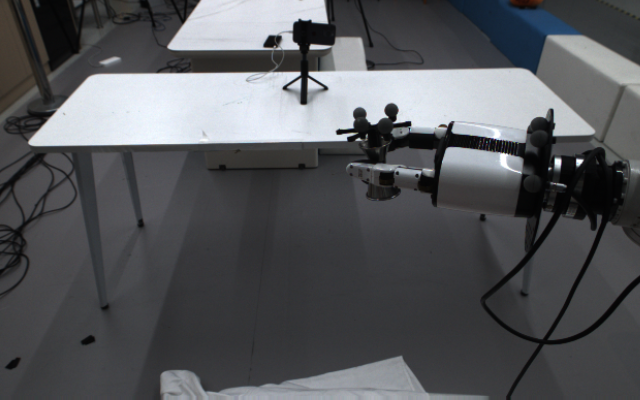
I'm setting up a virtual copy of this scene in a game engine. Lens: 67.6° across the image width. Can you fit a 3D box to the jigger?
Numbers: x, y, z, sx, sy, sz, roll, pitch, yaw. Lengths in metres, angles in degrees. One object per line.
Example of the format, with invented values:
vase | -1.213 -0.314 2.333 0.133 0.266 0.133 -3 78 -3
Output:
jigger | 0.074 -0.040 0.596 0.043 0.071 0.043 -11 23 5
